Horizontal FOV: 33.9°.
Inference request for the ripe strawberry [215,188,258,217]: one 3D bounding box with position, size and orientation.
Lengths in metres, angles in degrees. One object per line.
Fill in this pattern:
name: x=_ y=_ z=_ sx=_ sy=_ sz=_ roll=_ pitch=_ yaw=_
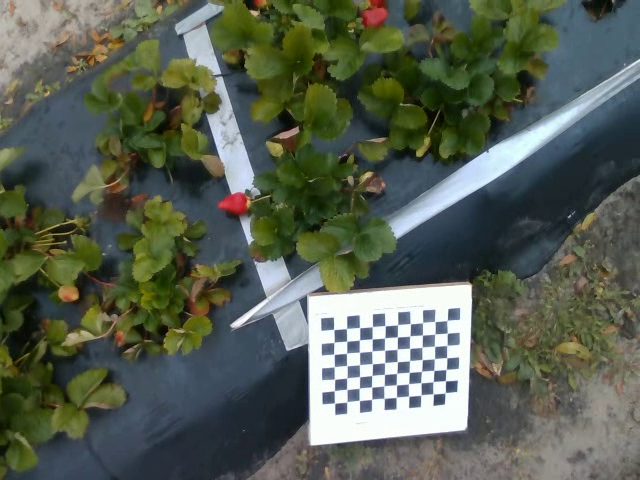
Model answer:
ripe strawberry: x=-0.138 y=-0.061 z=1.549 sx=0.051 sy=0.042 sz=0.037 roll=-8 pitch=19 yaw=-15
